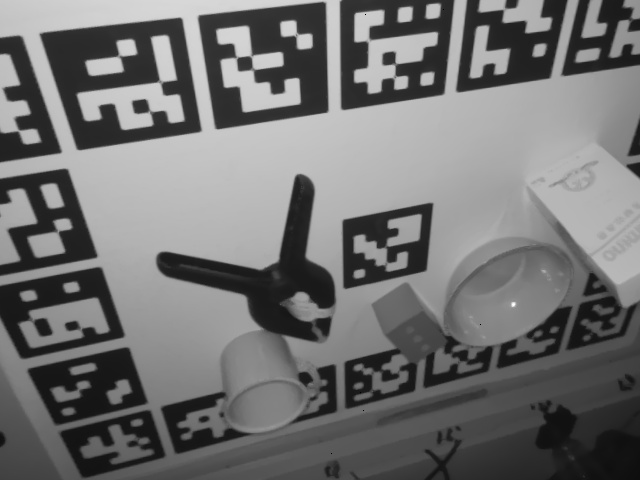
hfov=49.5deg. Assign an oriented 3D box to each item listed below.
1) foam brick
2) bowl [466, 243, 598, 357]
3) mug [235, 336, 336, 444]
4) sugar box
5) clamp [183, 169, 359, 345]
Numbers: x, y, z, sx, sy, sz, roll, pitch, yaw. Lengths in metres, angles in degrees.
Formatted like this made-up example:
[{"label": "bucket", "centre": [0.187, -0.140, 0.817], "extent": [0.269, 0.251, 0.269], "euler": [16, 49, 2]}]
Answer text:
[{"label": "foam brick", "centre": [0.119, 0.097, 0.797], "extent": [0.052, 0.051, 0.078], "euler": [-33, 126, 5]}, {"label": "bowl", "centre": [0.233, 0.058, 0.799], "extent": [0.163, 0.055, 0.160], "euler": [-9, 126, -11]}, {"label": "mug", "centre": [-0.038, 0.162, 0.760], "extent": [0.118, 0.081, 0.092], "euler": [13, 119, -22]}, {"label": "sugar box", "centre": [0.313, -0.029, 0.689], "extent": [0.092, 0.177, 0.045], "euler": [-30, 126, 6]}, {"label": "clamp", "centre": [-0.018, 0.043, 0.707], "extent": [0.165, 0.036, 0.203], "euler": [-31, 127, 1]}]
